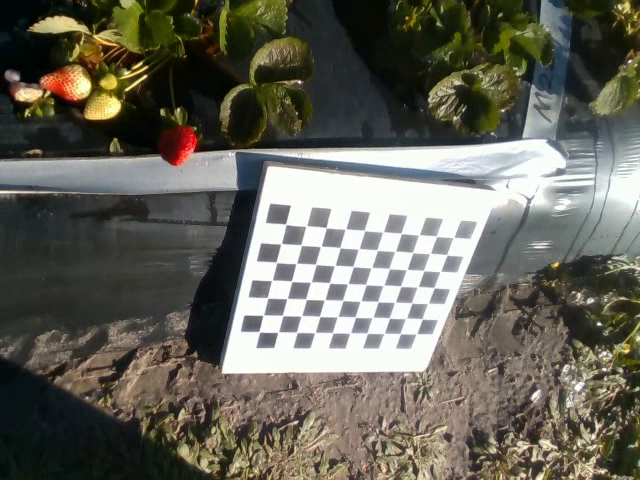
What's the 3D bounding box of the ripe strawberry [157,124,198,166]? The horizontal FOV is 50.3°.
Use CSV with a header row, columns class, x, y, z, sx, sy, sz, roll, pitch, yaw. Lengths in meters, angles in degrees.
class,x,y,z,sx,sy,sz,roll,pitch,yaw
ripe strawberry,-0.114,-0.070,0.544,0.036,0.038,0.046,4,43,-18
